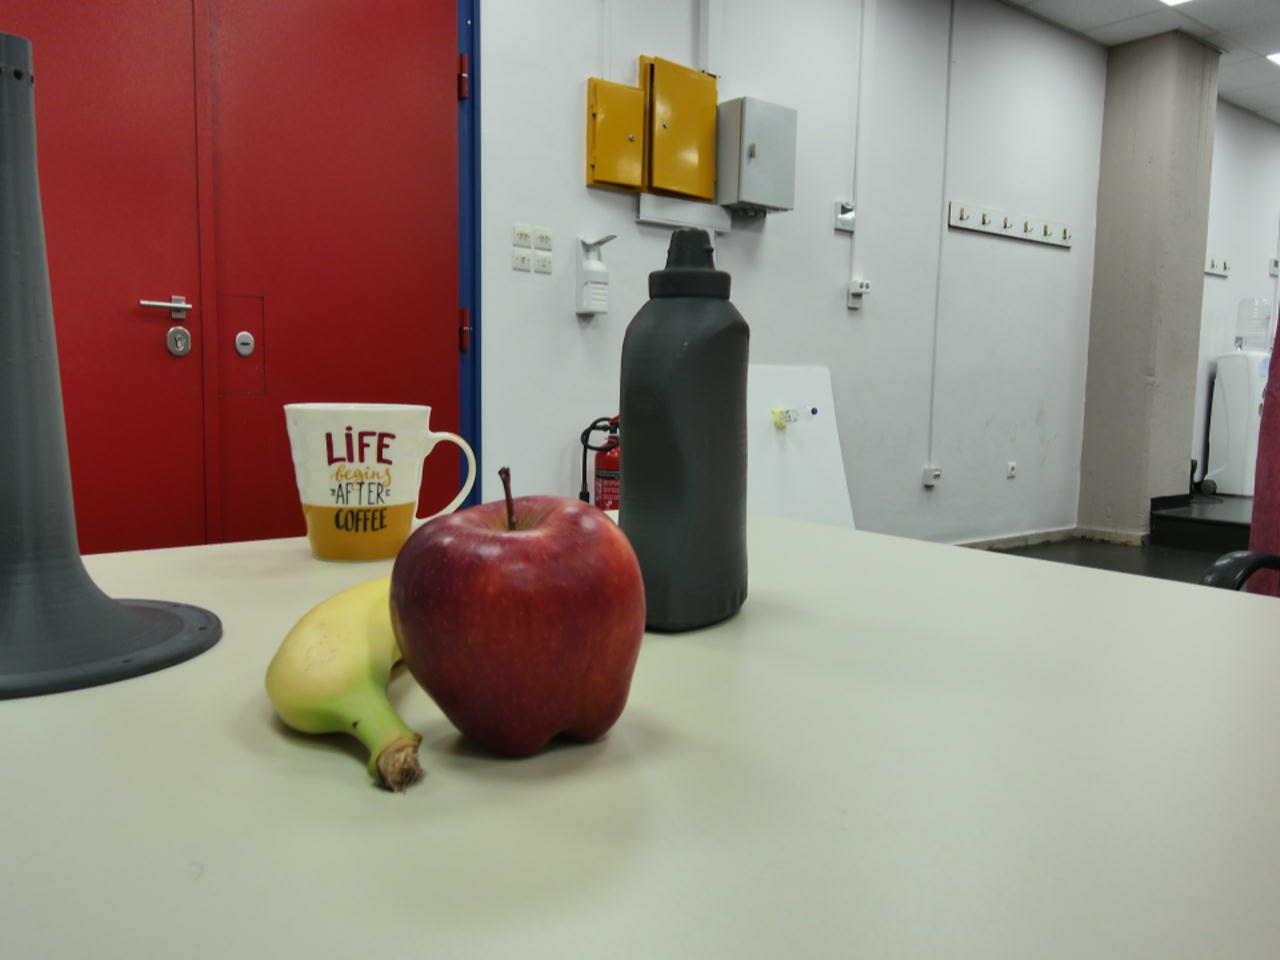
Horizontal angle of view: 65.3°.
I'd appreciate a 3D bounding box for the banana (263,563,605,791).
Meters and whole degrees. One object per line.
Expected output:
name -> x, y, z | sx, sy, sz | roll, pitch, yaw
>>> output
banana -> -0.085, 0.061, 0.391 | 0.094, 0.041, 0.196 | 1, 4, 16
